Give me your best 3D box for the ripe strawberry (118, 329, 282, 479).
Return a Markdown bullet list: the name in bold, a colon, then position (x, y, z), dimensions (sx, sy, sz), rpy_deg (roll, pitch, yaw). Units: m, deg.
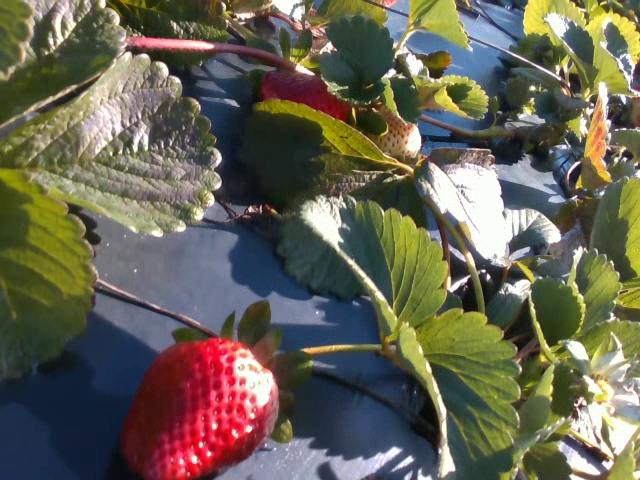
- **ripe strawberry**: position (-0.032, 0.046, 0.154), dimensions (0.044, 0.042, 0.055), rpy_deg (-11, 17, 27)
